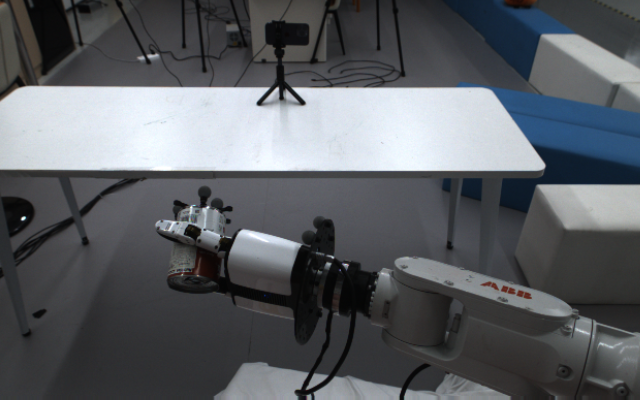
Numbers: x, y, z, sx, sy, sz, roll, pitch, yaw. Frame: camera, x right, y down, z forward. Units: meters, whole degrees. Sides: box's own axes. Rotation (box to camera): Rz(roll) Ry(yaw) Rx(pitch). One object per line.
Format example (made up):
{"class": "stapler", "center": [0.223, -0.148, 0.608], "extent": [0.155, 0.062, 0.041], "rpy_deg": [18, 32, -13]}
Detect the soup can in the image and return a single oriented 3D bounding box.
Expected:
{"class": "soup can", "center": [-0.161, 0.066, 0.643], "extent": [0.067, 0.067, 0.101], "rpy_deg": [0, 60, -3]}
